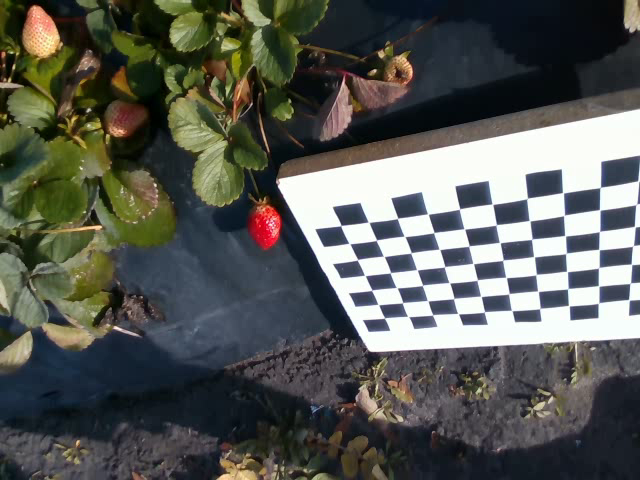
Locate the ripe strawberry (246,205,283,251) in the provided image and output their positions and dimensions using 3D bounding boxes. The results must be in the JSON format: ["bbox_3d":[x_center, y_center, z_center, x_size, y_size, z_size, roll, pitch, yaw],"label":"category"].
[{"bbox_3d":[-0.042,-0.009,0.467,0.034,0.038,0.033,-8,-4,21],"label":"ripe strawberry"}]
